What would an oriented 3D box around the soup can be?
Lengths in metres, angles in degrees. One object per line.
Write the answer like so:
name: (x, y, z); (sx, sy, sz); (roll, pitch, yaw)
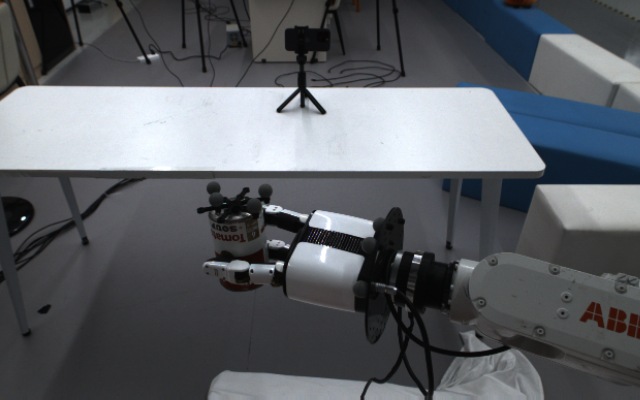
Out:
soup can: (-0.098, 0.055, 0.611); (0.067, 0.101, 0.067); (-3, 27, 2)
